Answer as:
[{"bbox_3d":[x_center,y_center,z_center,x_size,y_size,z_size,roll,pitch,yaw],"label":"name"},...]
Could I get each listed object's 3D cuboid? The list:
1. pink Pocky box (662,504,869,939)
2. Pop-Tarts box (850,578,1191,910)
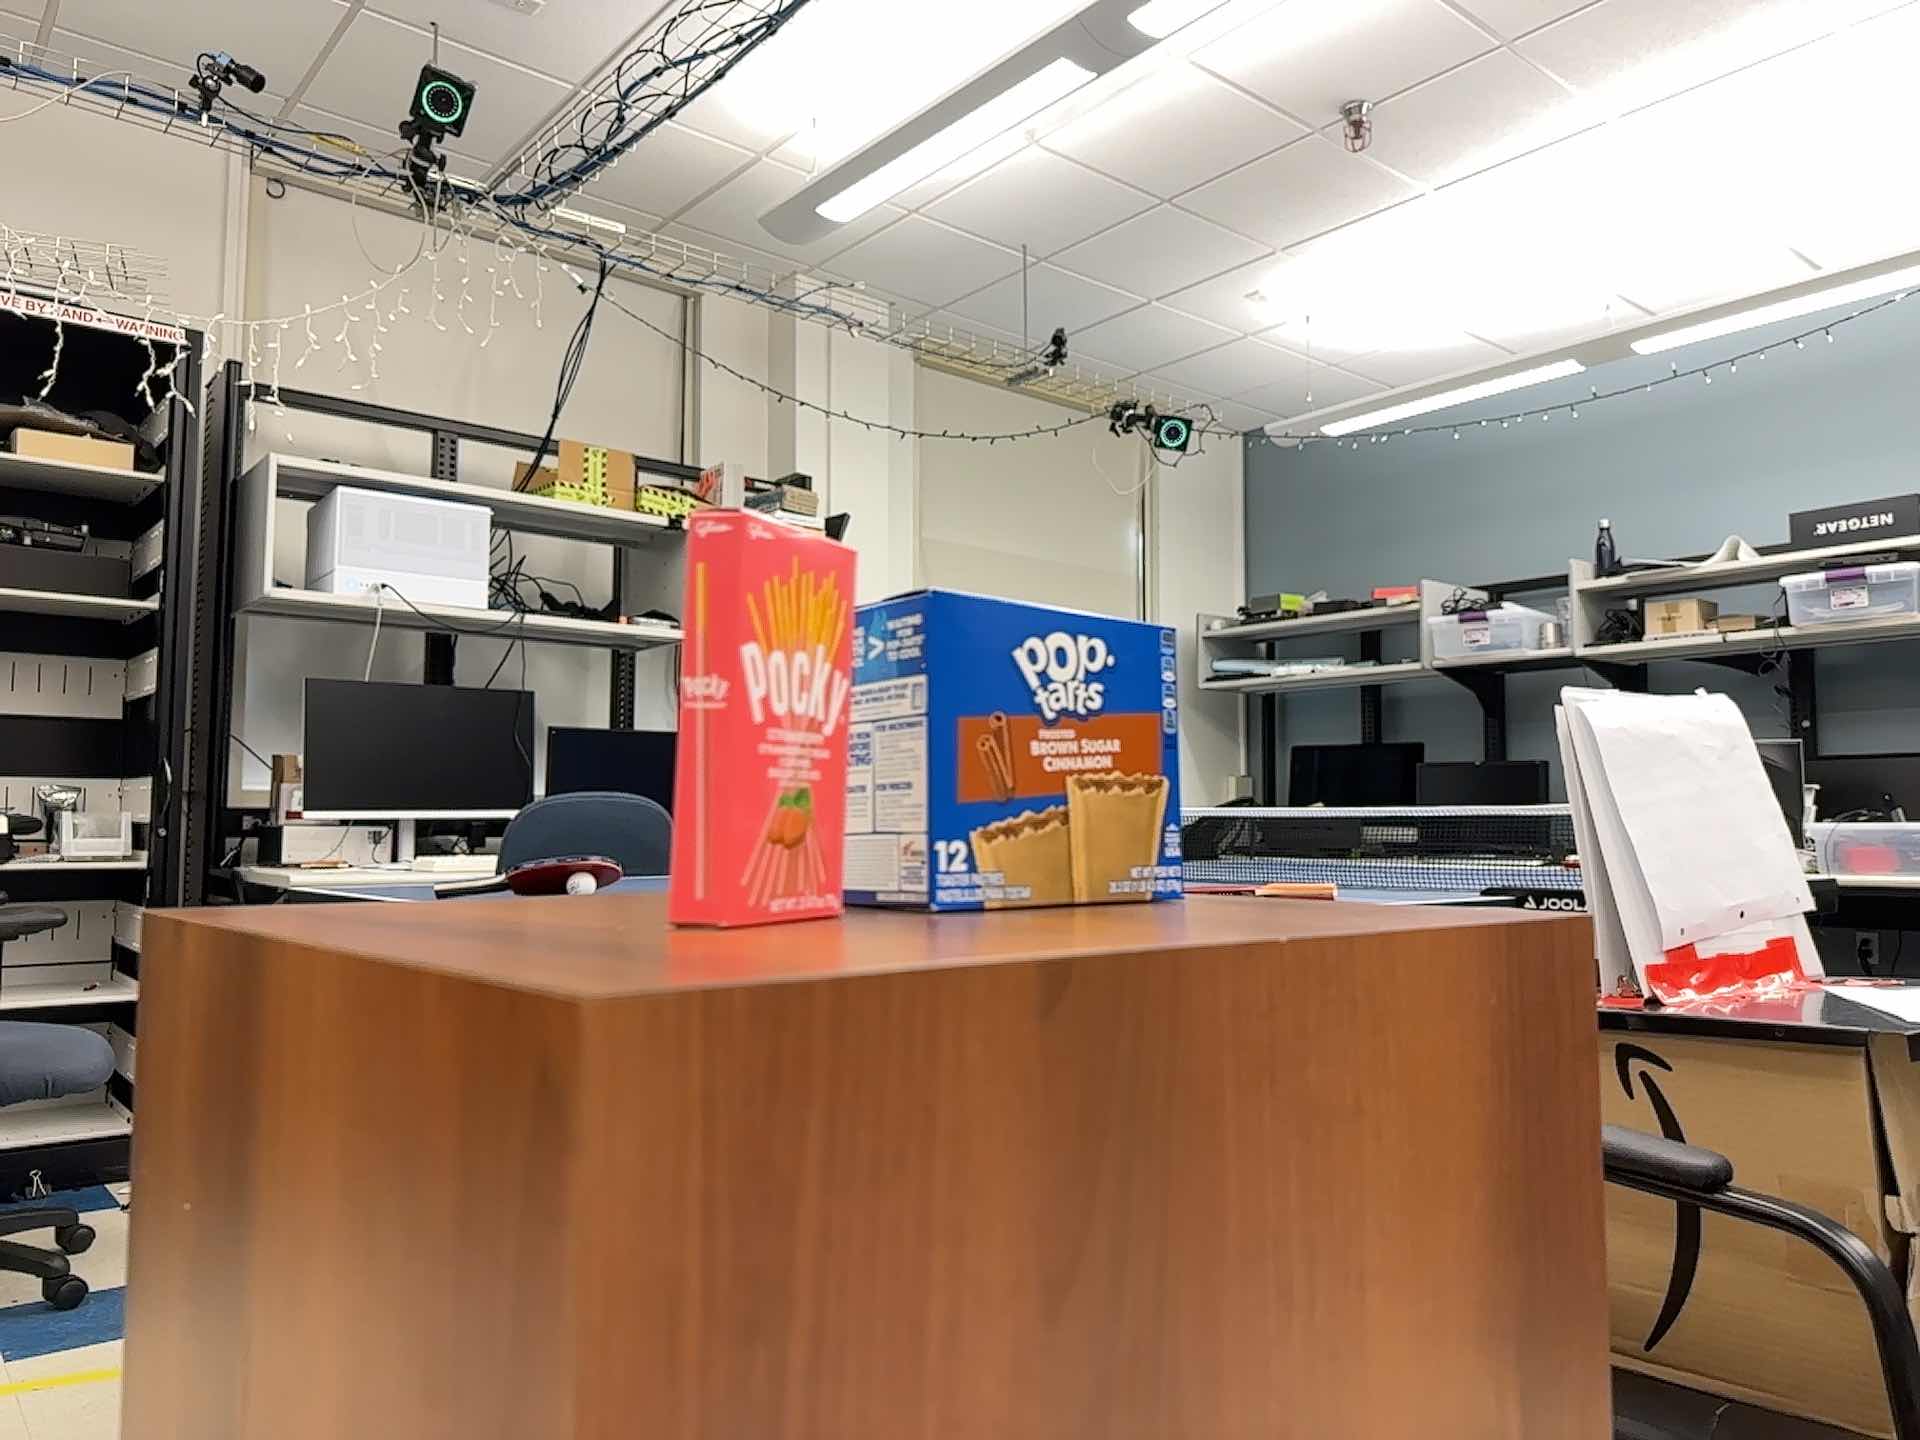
[{"bbox_3d":[-0.071,0.002,0.513,0.029,0.155,0.084,0,-5,29],"label":"pink Pocky box"},{"bbox_3d":[0.027,0.019,0.645,0.161,0.135,0.075,8,-9,-40],"label":"Pop-Tarts box"}]
